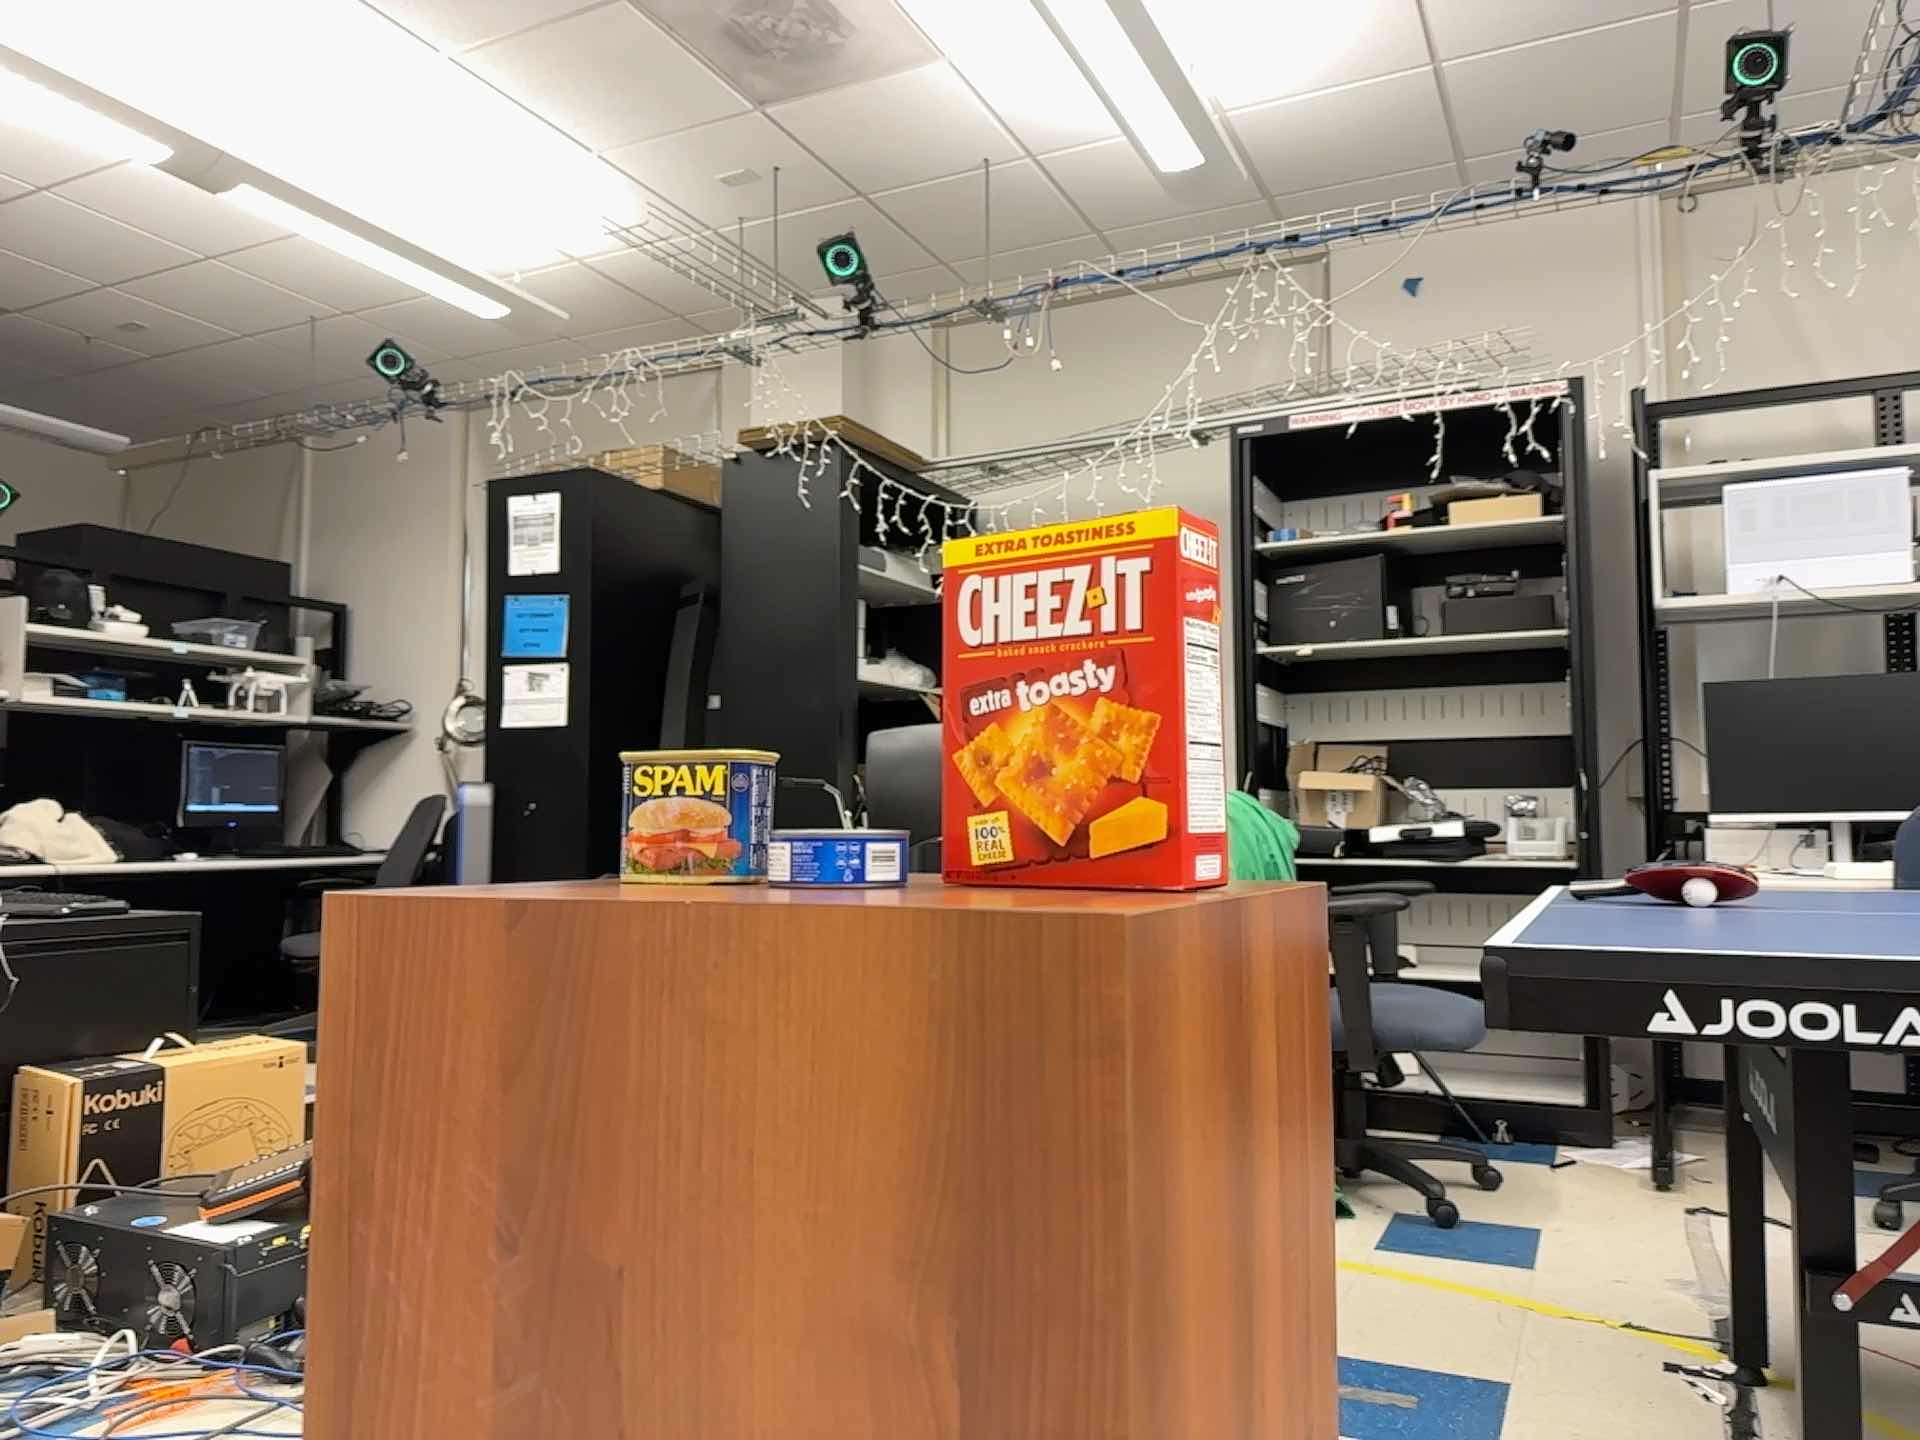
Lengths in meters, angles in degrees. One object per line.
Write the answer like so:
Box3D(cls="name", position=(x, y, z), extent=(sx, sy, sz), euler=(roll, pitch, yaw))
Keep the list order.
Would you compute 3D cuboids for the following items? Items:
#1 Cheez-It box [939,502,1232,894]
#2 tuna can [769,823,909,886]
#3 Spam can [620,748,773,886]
Box3D(cls="Cheez-It box", position=(0.072, -0.007, 0.821), extent=(0.159, 0.214, 0.062), euler=(-5, -7, 31))
Box3D(cls="tuna can", position=(-0.073, 0.082, 0.815), extent=(0.083, 0.034, 0.083), euler=(0, -9, 0))
Box3D(cls="Spam can", position=(-0.172, 0.064, 0.872), extent=(0.100, 0.083, 0.056), euler=(-4, -8, 34))
